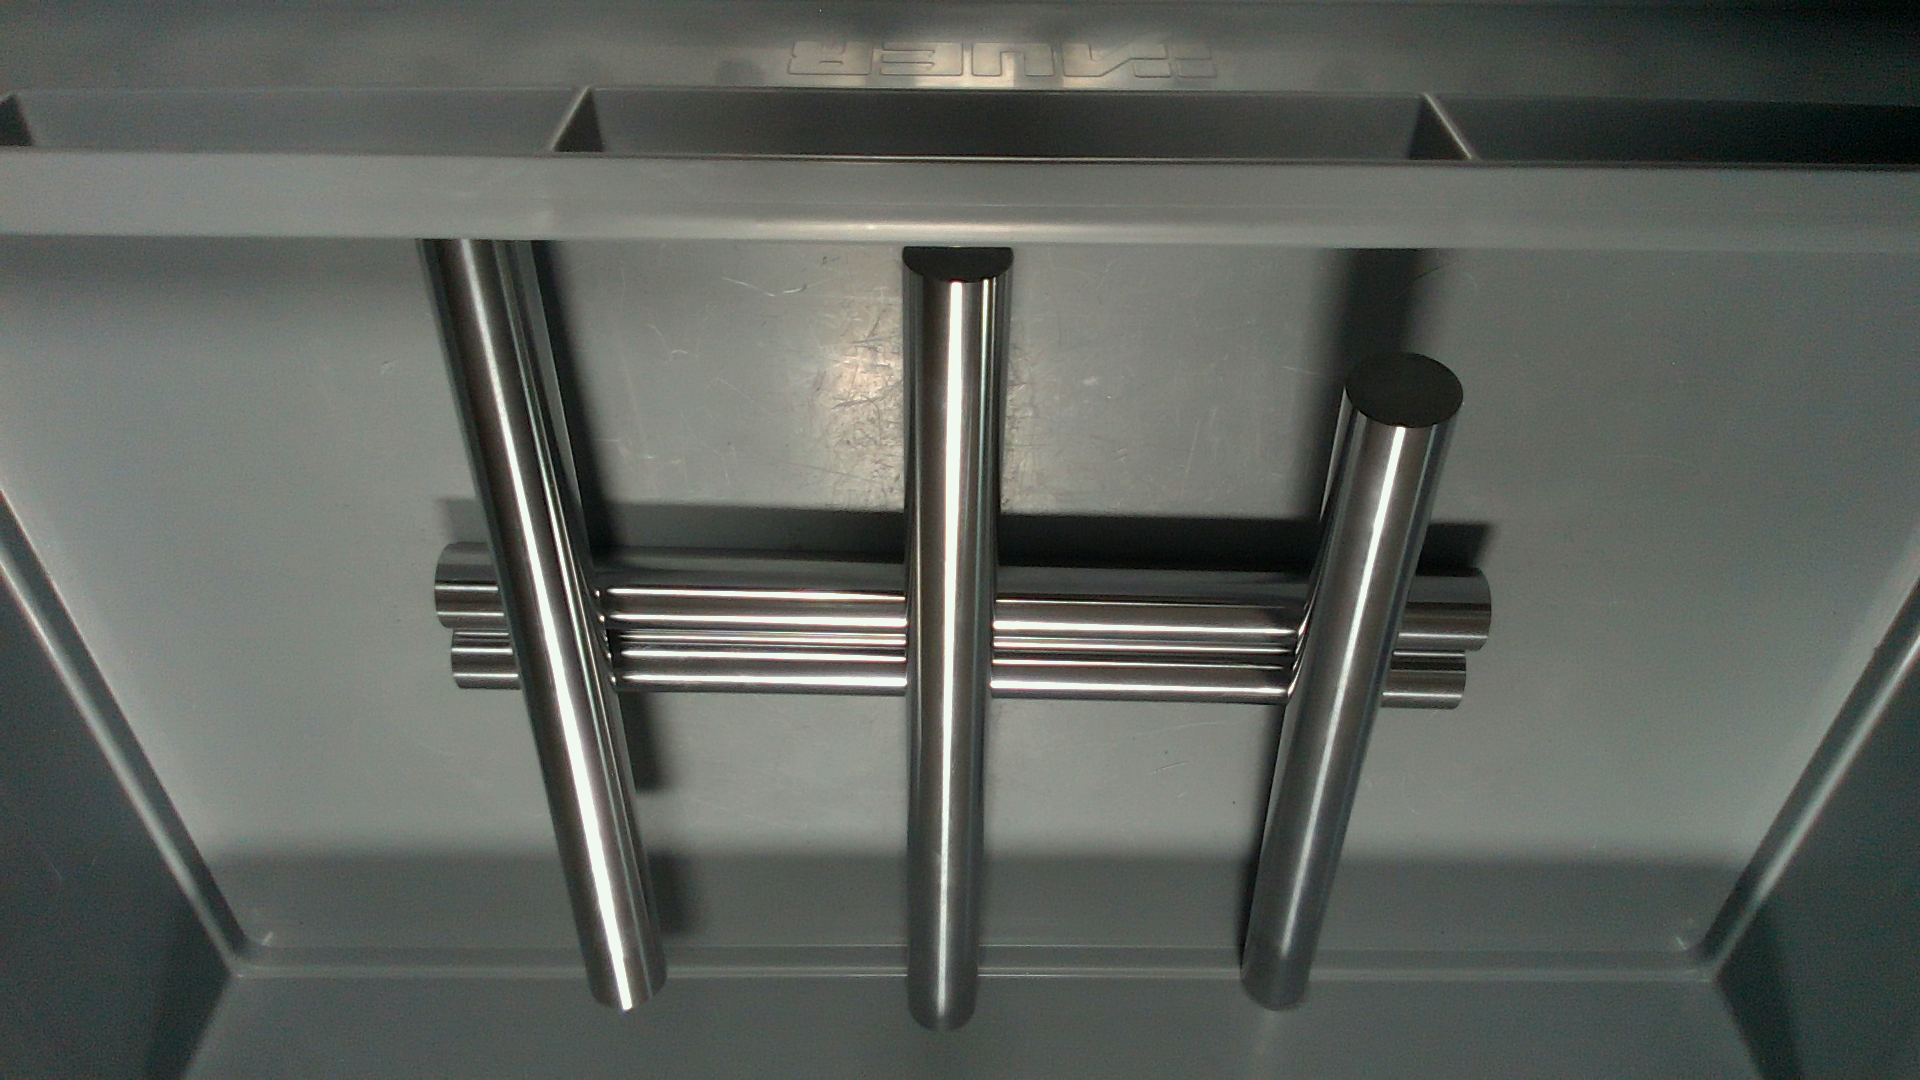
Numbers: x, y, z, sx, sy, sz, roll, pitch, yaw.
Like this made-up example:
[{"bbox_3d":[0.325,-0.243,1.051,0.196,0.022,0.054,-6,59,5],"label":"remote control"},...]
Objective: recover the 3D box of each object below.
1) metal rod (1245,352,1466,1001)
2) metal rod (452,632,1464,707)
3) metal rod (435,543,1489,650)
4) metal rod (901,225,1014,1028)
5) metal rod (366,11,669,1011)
[{"bbox_3d":[0.110,0.066,0.416,0.025,0.025,0.300,-3,138,3],"label":"metal rod"},{"bbox_3d":[0.000,0.036,0.420,0.300,0.025,0.025,1,130,-1],"label":"metal rod"},{"bbox_3d":[0.002,0.017,0.404,0.300,0.025,0.025,1,130,-1],"label":"metal rod"},{"bbox_3d":[-0.003,0.051,0.400,0.025,0.025,0.300,1,130,-1],"label":"metal rod"},{"bbox_3d":[-0.110,0.017,0.372,0.025,0.025,0.300,-1,122,1],"label":"metal rod"}]
